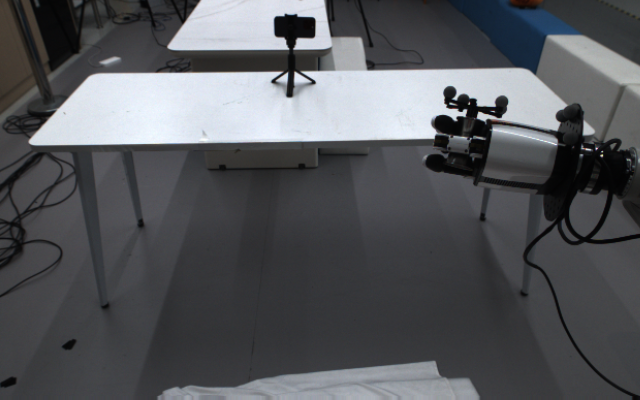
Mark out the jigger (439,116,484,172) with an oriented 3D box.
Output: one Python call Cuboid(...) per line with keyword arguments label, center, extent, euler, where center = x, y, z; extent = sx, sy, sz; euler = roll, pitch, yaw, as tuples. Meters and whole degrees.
Cuboid(label="jigger", center=(0.206, -0.080, 0.683), extent=(0.043, 0.071, 0.043), euler=(14, 1, 0))
